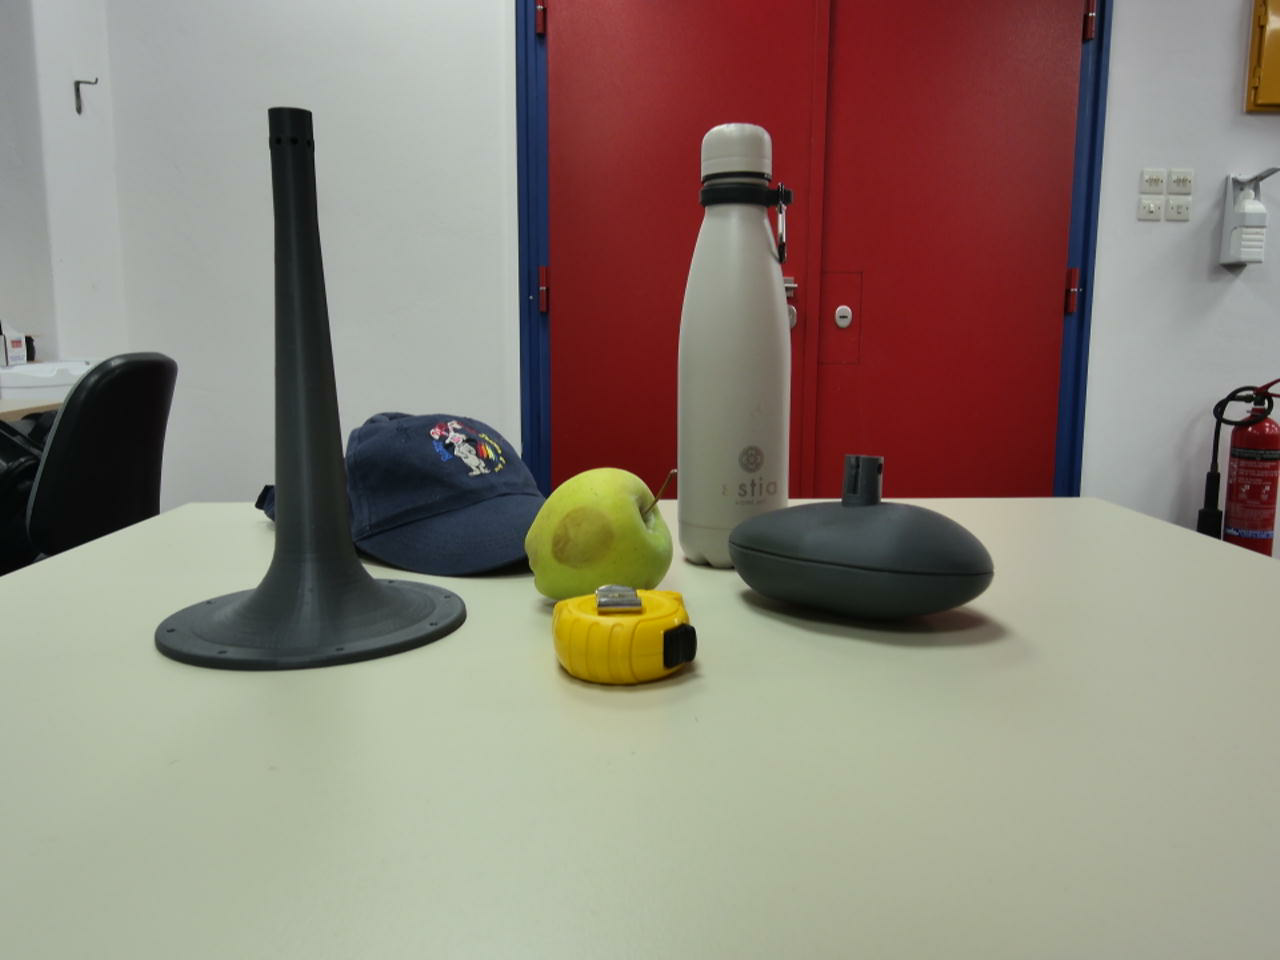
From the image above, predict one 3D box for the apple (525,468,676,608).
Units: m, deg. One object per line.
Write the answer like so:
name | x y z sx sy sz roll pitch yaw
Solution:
apple | -0.021 0.031 0.542 0.077 0.075 0.072 6 9 43
